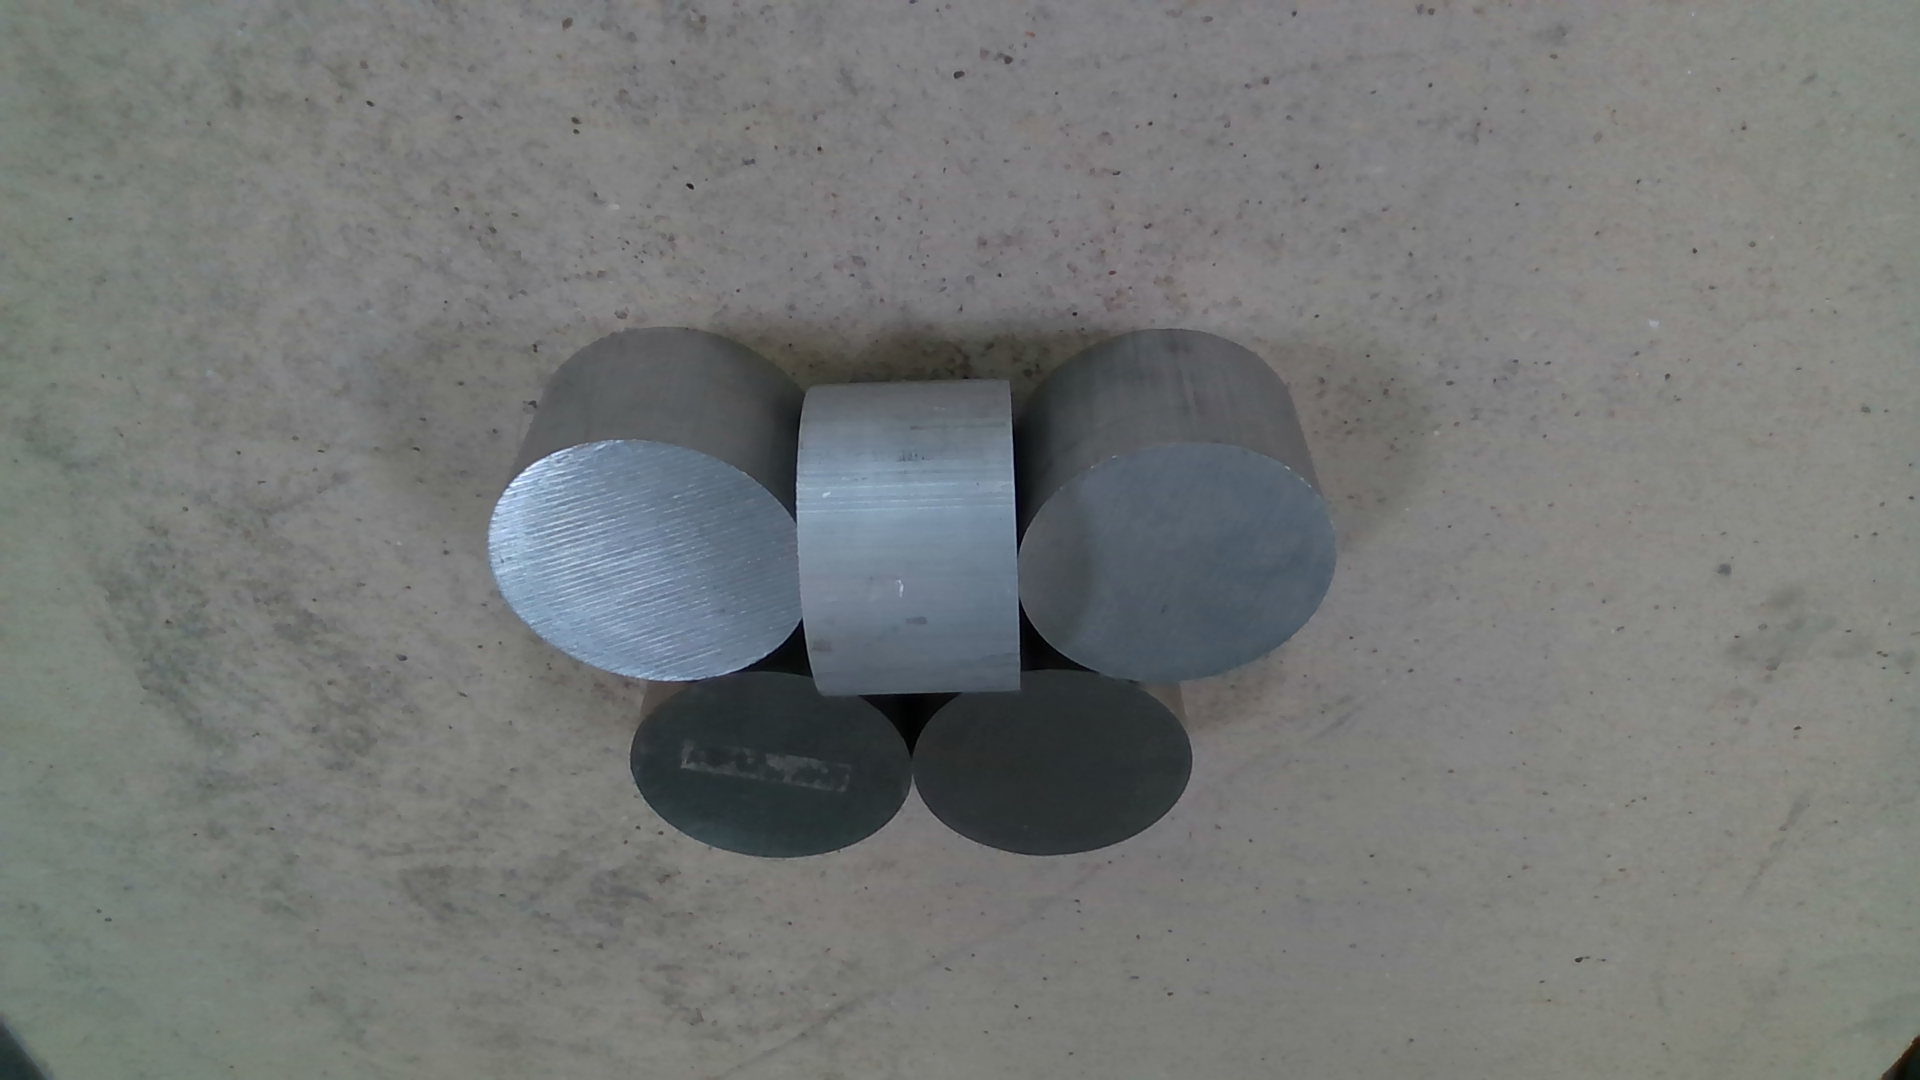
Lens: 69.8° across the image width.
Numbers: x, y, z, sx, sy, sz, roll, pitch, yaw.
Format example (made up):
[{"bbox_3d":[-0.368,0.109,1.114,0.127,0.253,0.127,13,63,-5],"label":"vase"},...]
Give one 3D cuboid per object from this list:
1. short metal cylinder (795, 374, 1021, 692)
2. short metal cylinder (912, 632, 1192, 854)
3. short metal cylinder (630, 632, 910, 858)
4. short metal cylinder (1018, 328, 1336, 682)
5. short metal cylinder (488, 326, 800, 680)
[{"bbox_3d":[-0.011,-0.001,0.352,0.050,0.080,0.080,-2,130,2],"label":"short metal cylinder"},{"bbox_3d":[0.026,0.049,0.414,0.080,0.050,0.080,0,130,0],"label":"short metal cylinder"},{"bbox_3d":[-0.054,0.050,0.414,0.080,0.050,0.080,0,129,0],"label":"short metal cylinder"},{"bbox_3d":[0.054,-0.009,0.366,0.080,0.050,0.080,0,129,0],"label":"short metal cylinder"},{"bbox_3d":[-0.077,-0.009,0.365,0.080,0.050,0.080,0,129,0],"label":"short metal cylinder"}]
